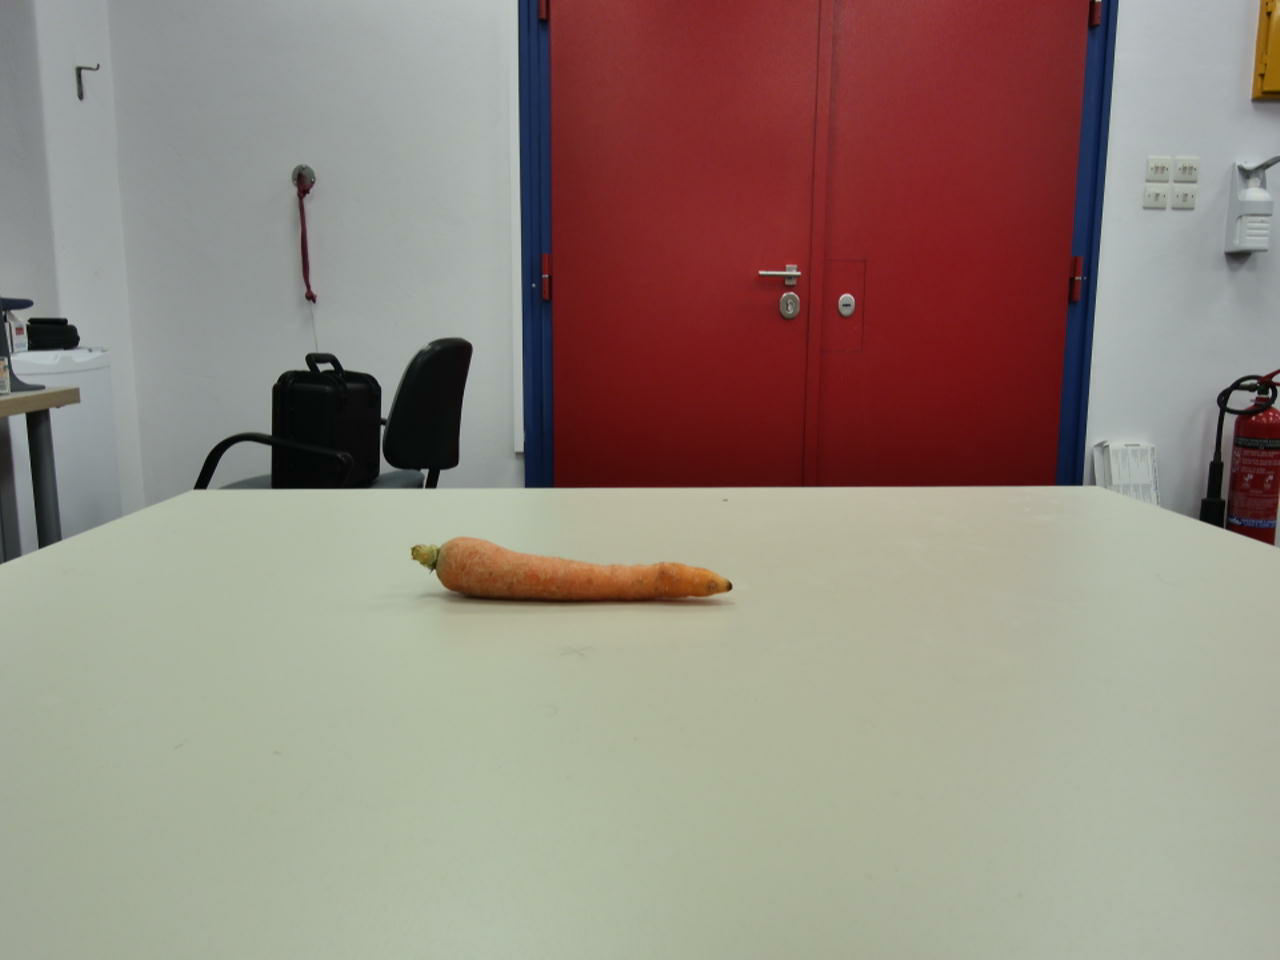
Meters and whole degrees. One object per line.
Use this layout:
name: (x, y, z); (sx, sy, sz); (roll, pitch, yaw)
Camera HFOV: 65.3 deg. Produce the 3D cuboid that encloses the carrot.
carrot: (-0.037, 0.048, 0.531); (0.173, 0.032, 0.030); (1, 6, 9)
